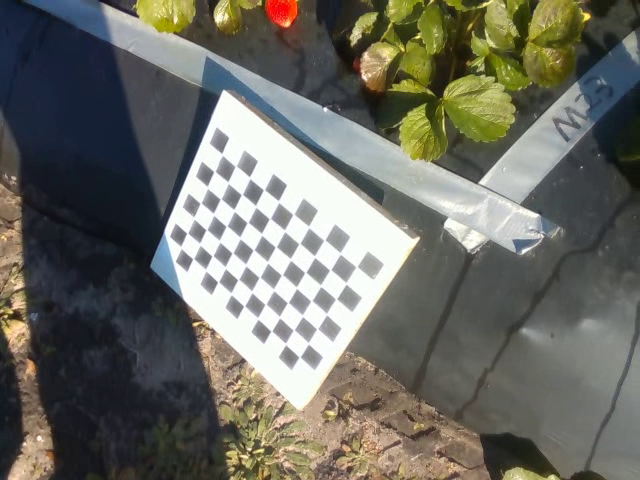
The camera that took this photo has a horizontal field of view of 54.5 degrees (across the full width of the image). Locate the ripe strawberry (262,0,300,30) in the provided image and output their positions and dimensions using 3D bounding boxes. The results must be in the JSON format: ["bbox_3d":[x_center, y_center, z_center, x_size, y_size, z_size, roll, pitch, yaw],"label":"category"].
[{"bbox_3d":[-0.049,-0.282,0.769,0.045,0.059,0.042,-29,-24,33],"label":"ripe strawberry"}]
